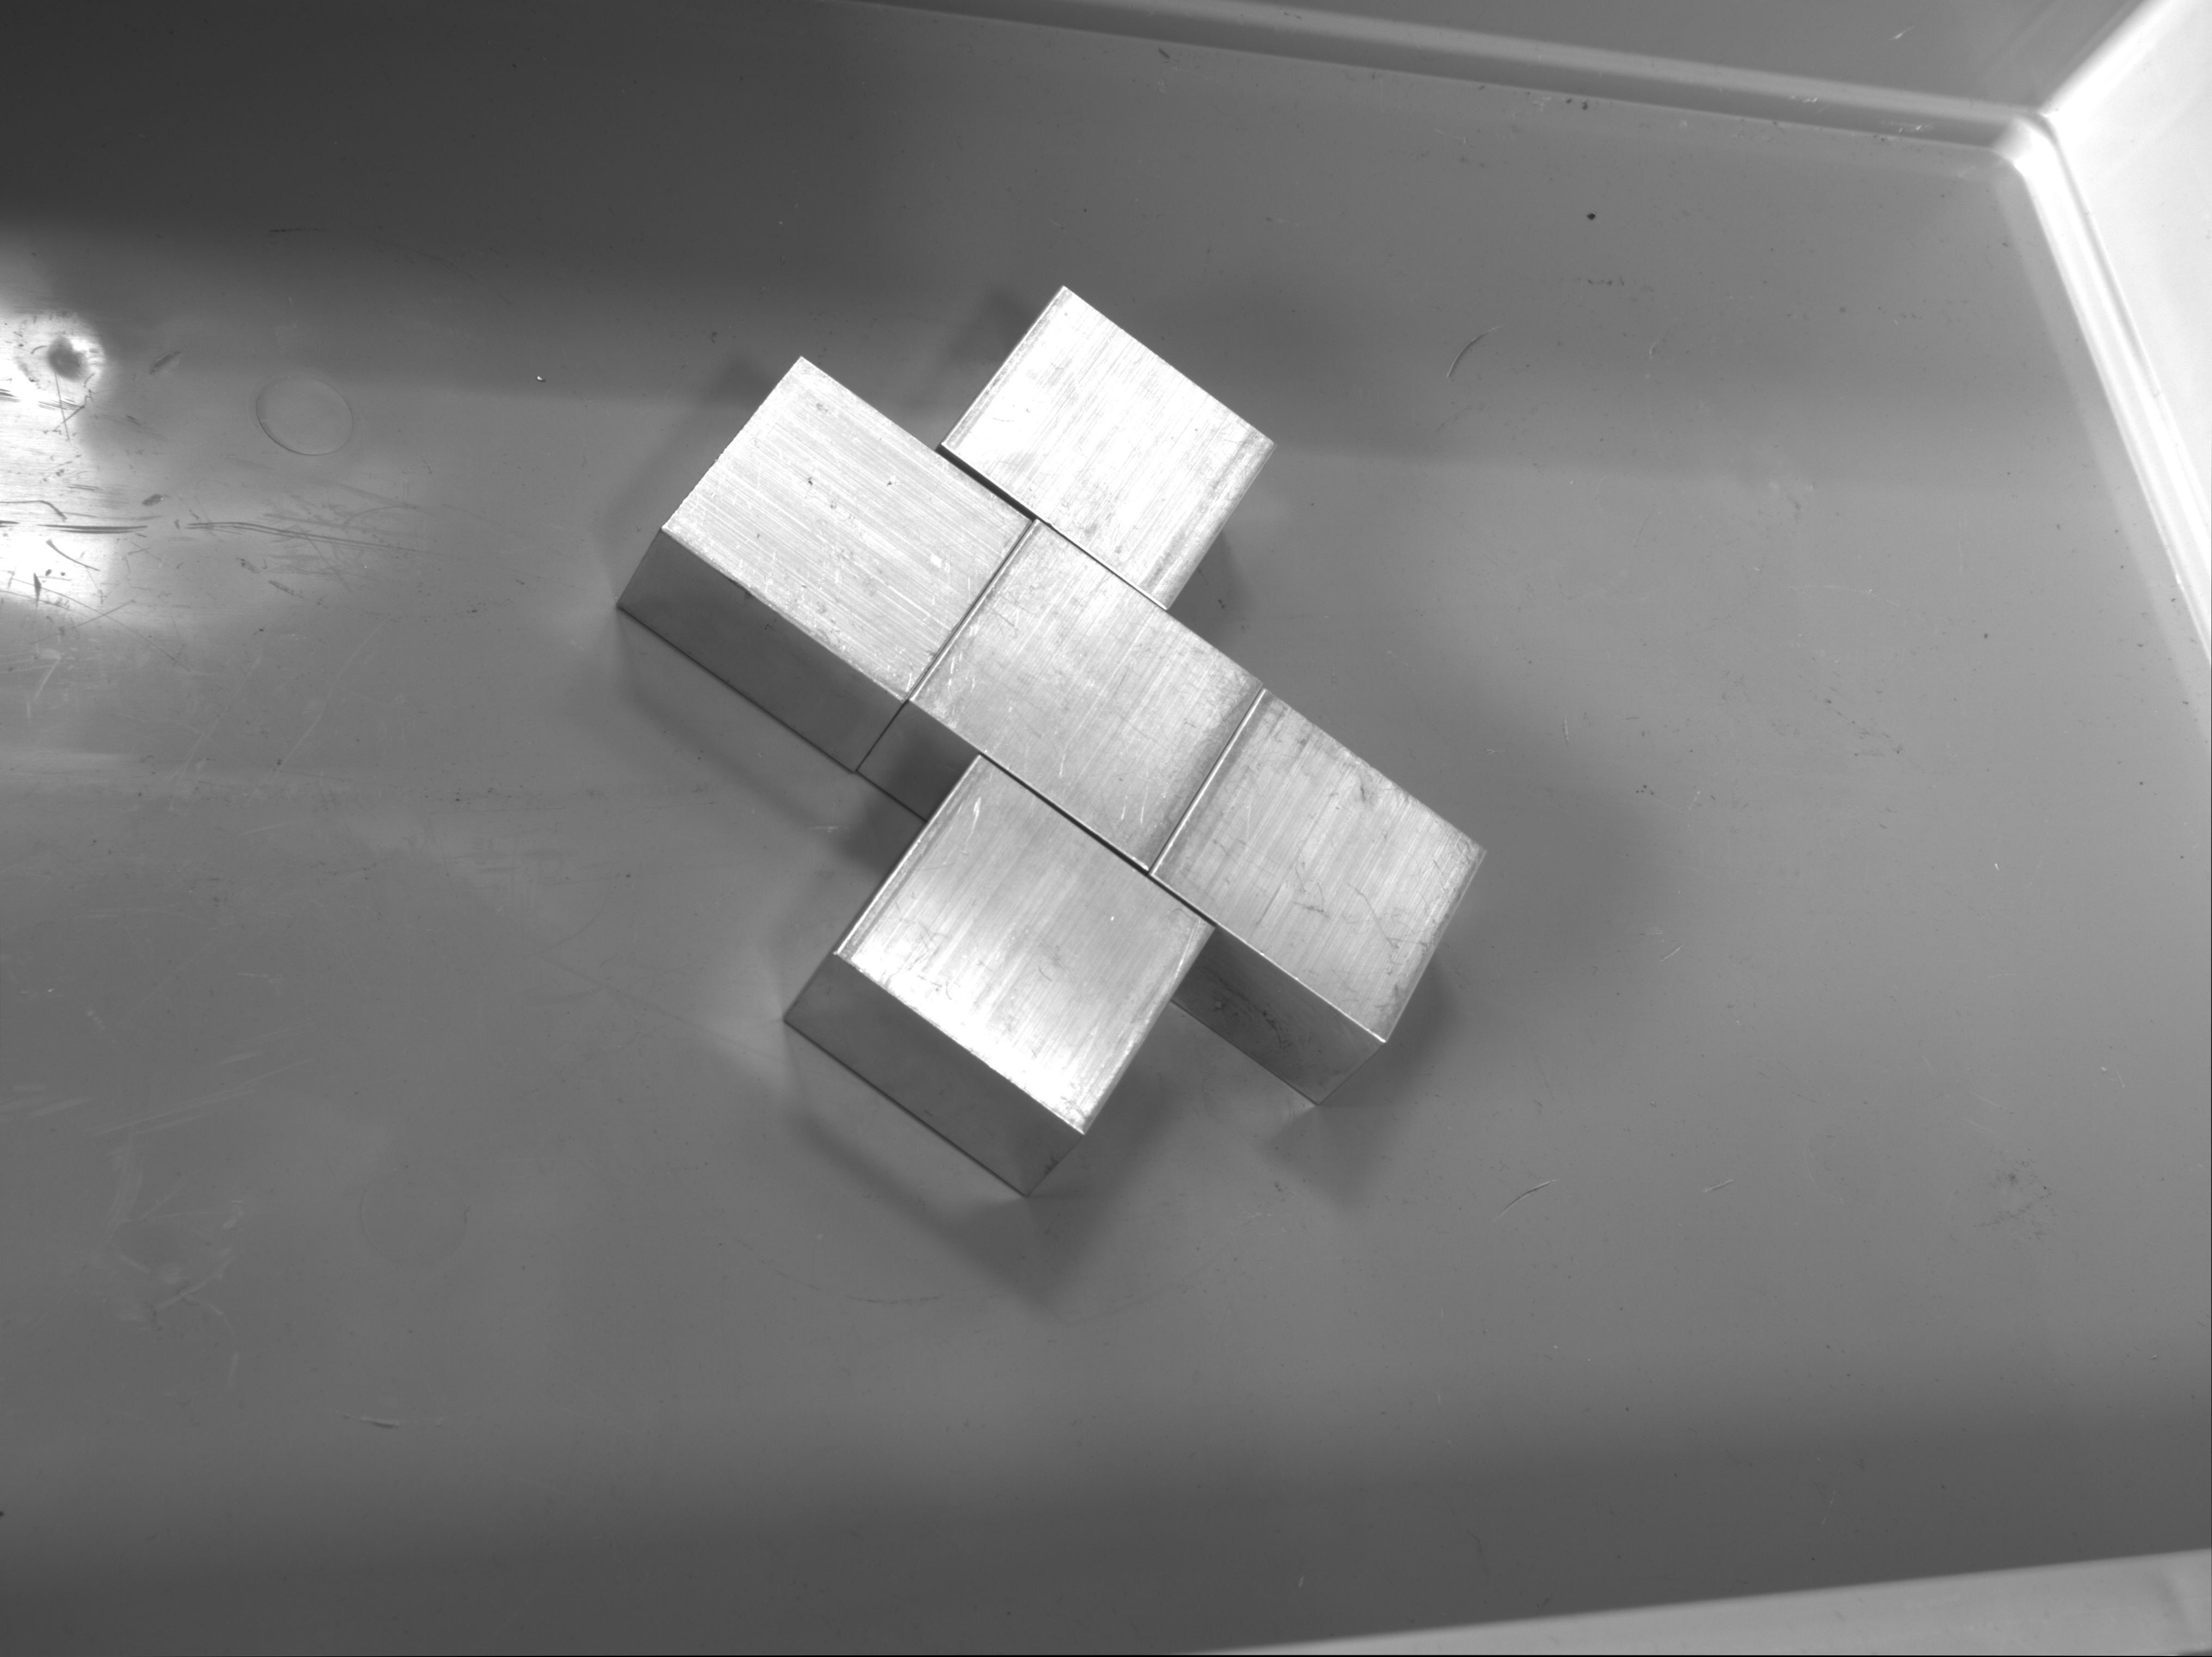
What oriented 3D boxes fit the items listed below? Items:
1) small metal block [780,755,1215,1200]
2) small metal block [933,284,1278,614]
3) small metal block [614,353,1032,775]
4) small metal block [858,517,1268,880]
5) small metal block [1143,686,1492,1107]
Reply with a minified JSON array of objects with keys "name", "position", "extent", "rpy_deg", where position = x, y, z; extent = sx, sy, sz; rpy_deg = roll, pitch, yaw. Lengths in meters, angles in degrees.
[{"name":"small metal block","position":[-0.018,0.025,0.613],"extent":[0.050,0.025,0.050],"rpy_deg":[37,52,-3]},{"name":"small metal block","position":[-0.004,-0.064,0.673],"extent":[0.050,0.025,0.050],"rpy_deg":[36,50,-4]},{"name":"small metal block","position":[-0.049,-0.046,0.639],"extent":[0.050,0.025,0.050],"rpy_deg":[36,51,-4]},{"name":"small metal block","position":[-0.007,-0.018,0.643],"extent":[0.050,0.025,0.050],"rpy_deg":[36,51,-4]},{"name":"small metal block","position":[0.033,0.012,0.647],"extent":[0.050,0.025,0.050],"rpy_deg":[36,51,-4]}]
